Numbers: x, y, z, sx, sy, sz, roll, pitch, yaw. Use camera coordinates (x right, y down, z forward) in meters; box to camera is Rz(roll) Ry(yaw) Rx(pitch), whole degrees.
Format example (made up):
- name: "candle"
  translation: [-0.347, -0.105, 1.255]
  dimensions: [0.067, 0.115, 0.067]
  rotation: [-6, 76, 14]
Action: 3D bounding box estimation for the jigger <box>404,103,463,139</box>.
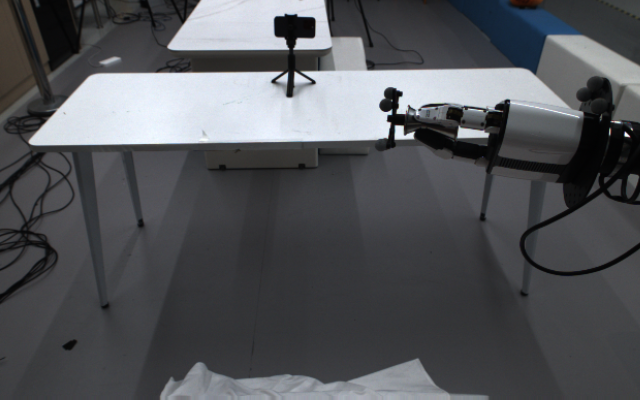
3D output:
- name: "jigger"
  translation: [0.153, -0.105, 0.637]
  dimensions: [0.071, 0.043, 0.043]
  rotation: [8, 35, 14]
